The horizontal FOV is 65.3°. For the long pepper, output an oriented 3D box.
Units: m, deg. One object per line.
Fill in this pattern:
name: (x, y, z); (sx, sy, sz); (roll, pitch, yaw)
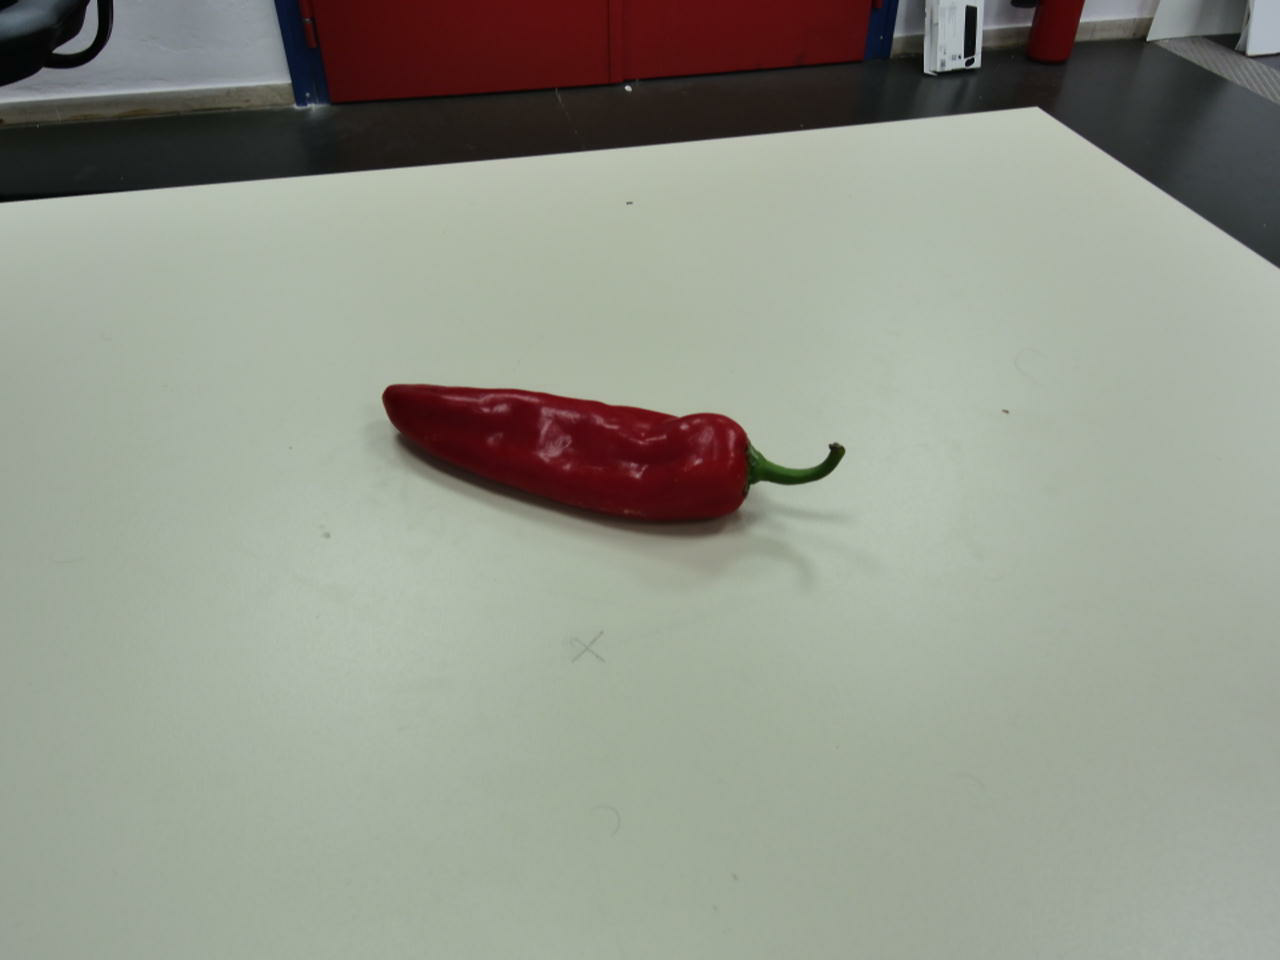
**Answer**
long pepper: (-0.021, -0.015, 0.426); (0.211, 0.043, 0.050); (12, 40, 15)
